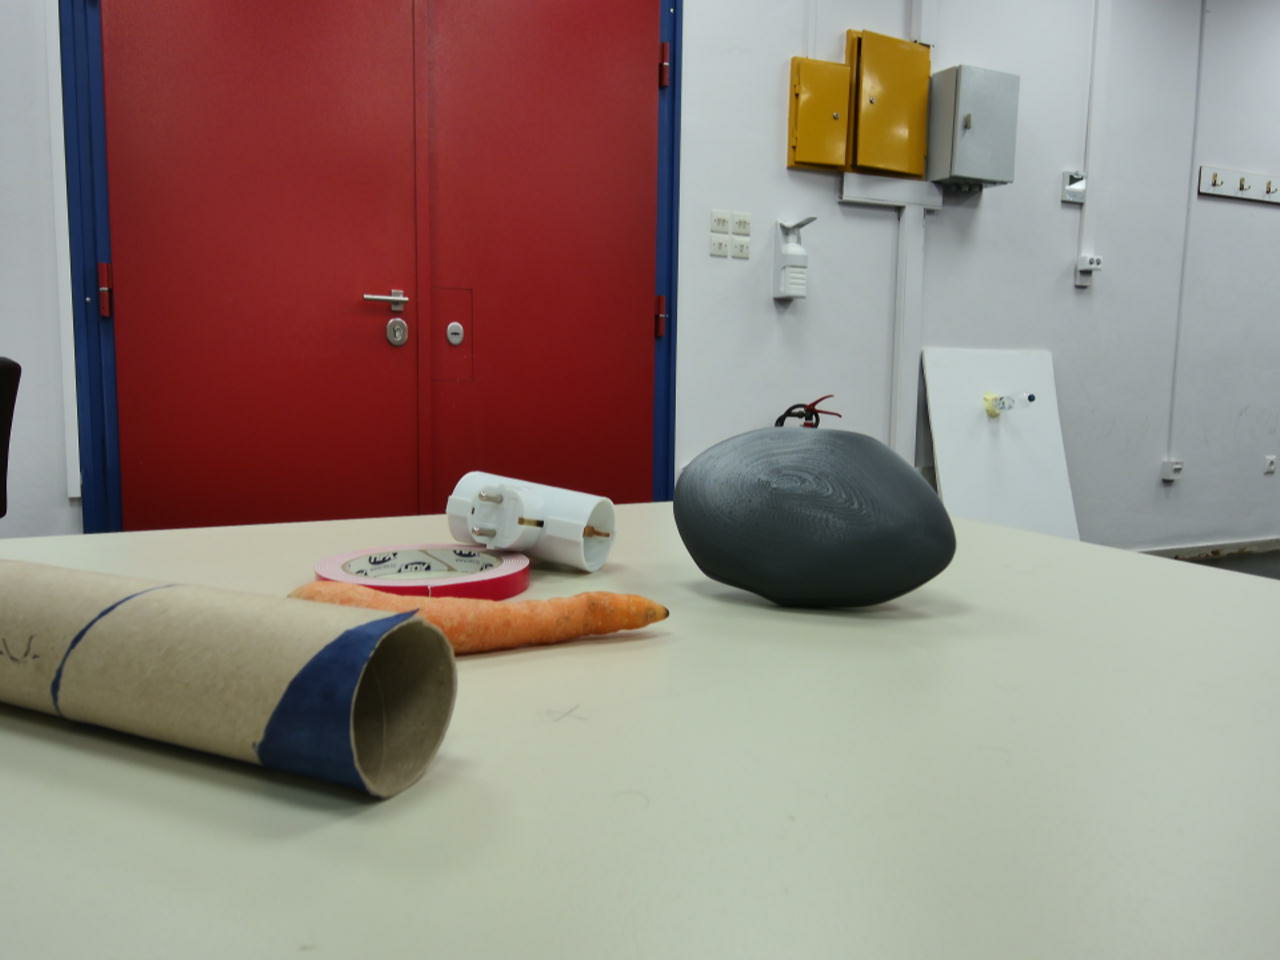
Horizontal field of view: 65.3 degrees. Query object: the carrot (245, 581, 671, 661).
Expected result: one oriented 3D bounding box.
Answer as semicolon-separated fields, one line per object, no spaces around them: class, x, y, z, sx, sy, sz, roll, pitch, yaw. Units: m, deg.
carrot;-0.069;0.054;0.408;0.173;0.032;0.030;-1;4;-17
